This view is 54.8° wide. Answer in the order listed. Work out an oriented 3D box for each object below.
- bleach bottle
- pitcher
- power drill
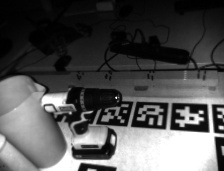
[{"bbox_3d":[-0.270,0.142,0.478,0.102,0.253,0.067,-6,44,14],"label":"bleach bottle"},{"bbox_3d":[-0.231,0.084,0.556,0.189,0.245,0.132,-19,44,-1],"label":"pitcher"},{"bbox_3d":[-0.066,0.079,0.524,0.183,0.188,0.057,0,48,10],"label":"power drill"}]
